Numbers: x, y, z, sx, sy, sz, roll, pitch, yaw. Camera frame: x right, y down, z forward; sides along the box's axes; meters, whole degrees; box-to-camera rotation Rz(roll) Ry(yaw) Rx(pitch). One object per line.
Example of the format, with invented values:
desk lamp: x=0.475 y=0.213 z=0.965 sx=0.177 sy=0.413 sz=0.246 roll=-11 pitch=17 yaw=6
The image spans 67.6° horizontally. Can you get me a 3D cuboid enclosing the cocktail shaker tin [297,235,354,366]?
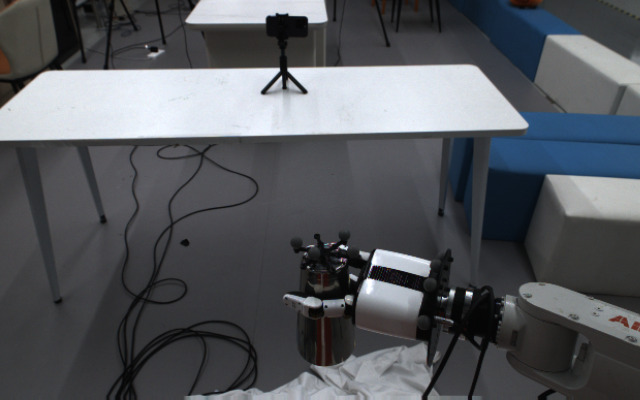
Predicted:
cocktail shaker tin: x=0.011 y=0.150 z=0.716 sx=0.093 sy=0.170 sz=0.093 roll=-1 pitch=31 yaw=1
